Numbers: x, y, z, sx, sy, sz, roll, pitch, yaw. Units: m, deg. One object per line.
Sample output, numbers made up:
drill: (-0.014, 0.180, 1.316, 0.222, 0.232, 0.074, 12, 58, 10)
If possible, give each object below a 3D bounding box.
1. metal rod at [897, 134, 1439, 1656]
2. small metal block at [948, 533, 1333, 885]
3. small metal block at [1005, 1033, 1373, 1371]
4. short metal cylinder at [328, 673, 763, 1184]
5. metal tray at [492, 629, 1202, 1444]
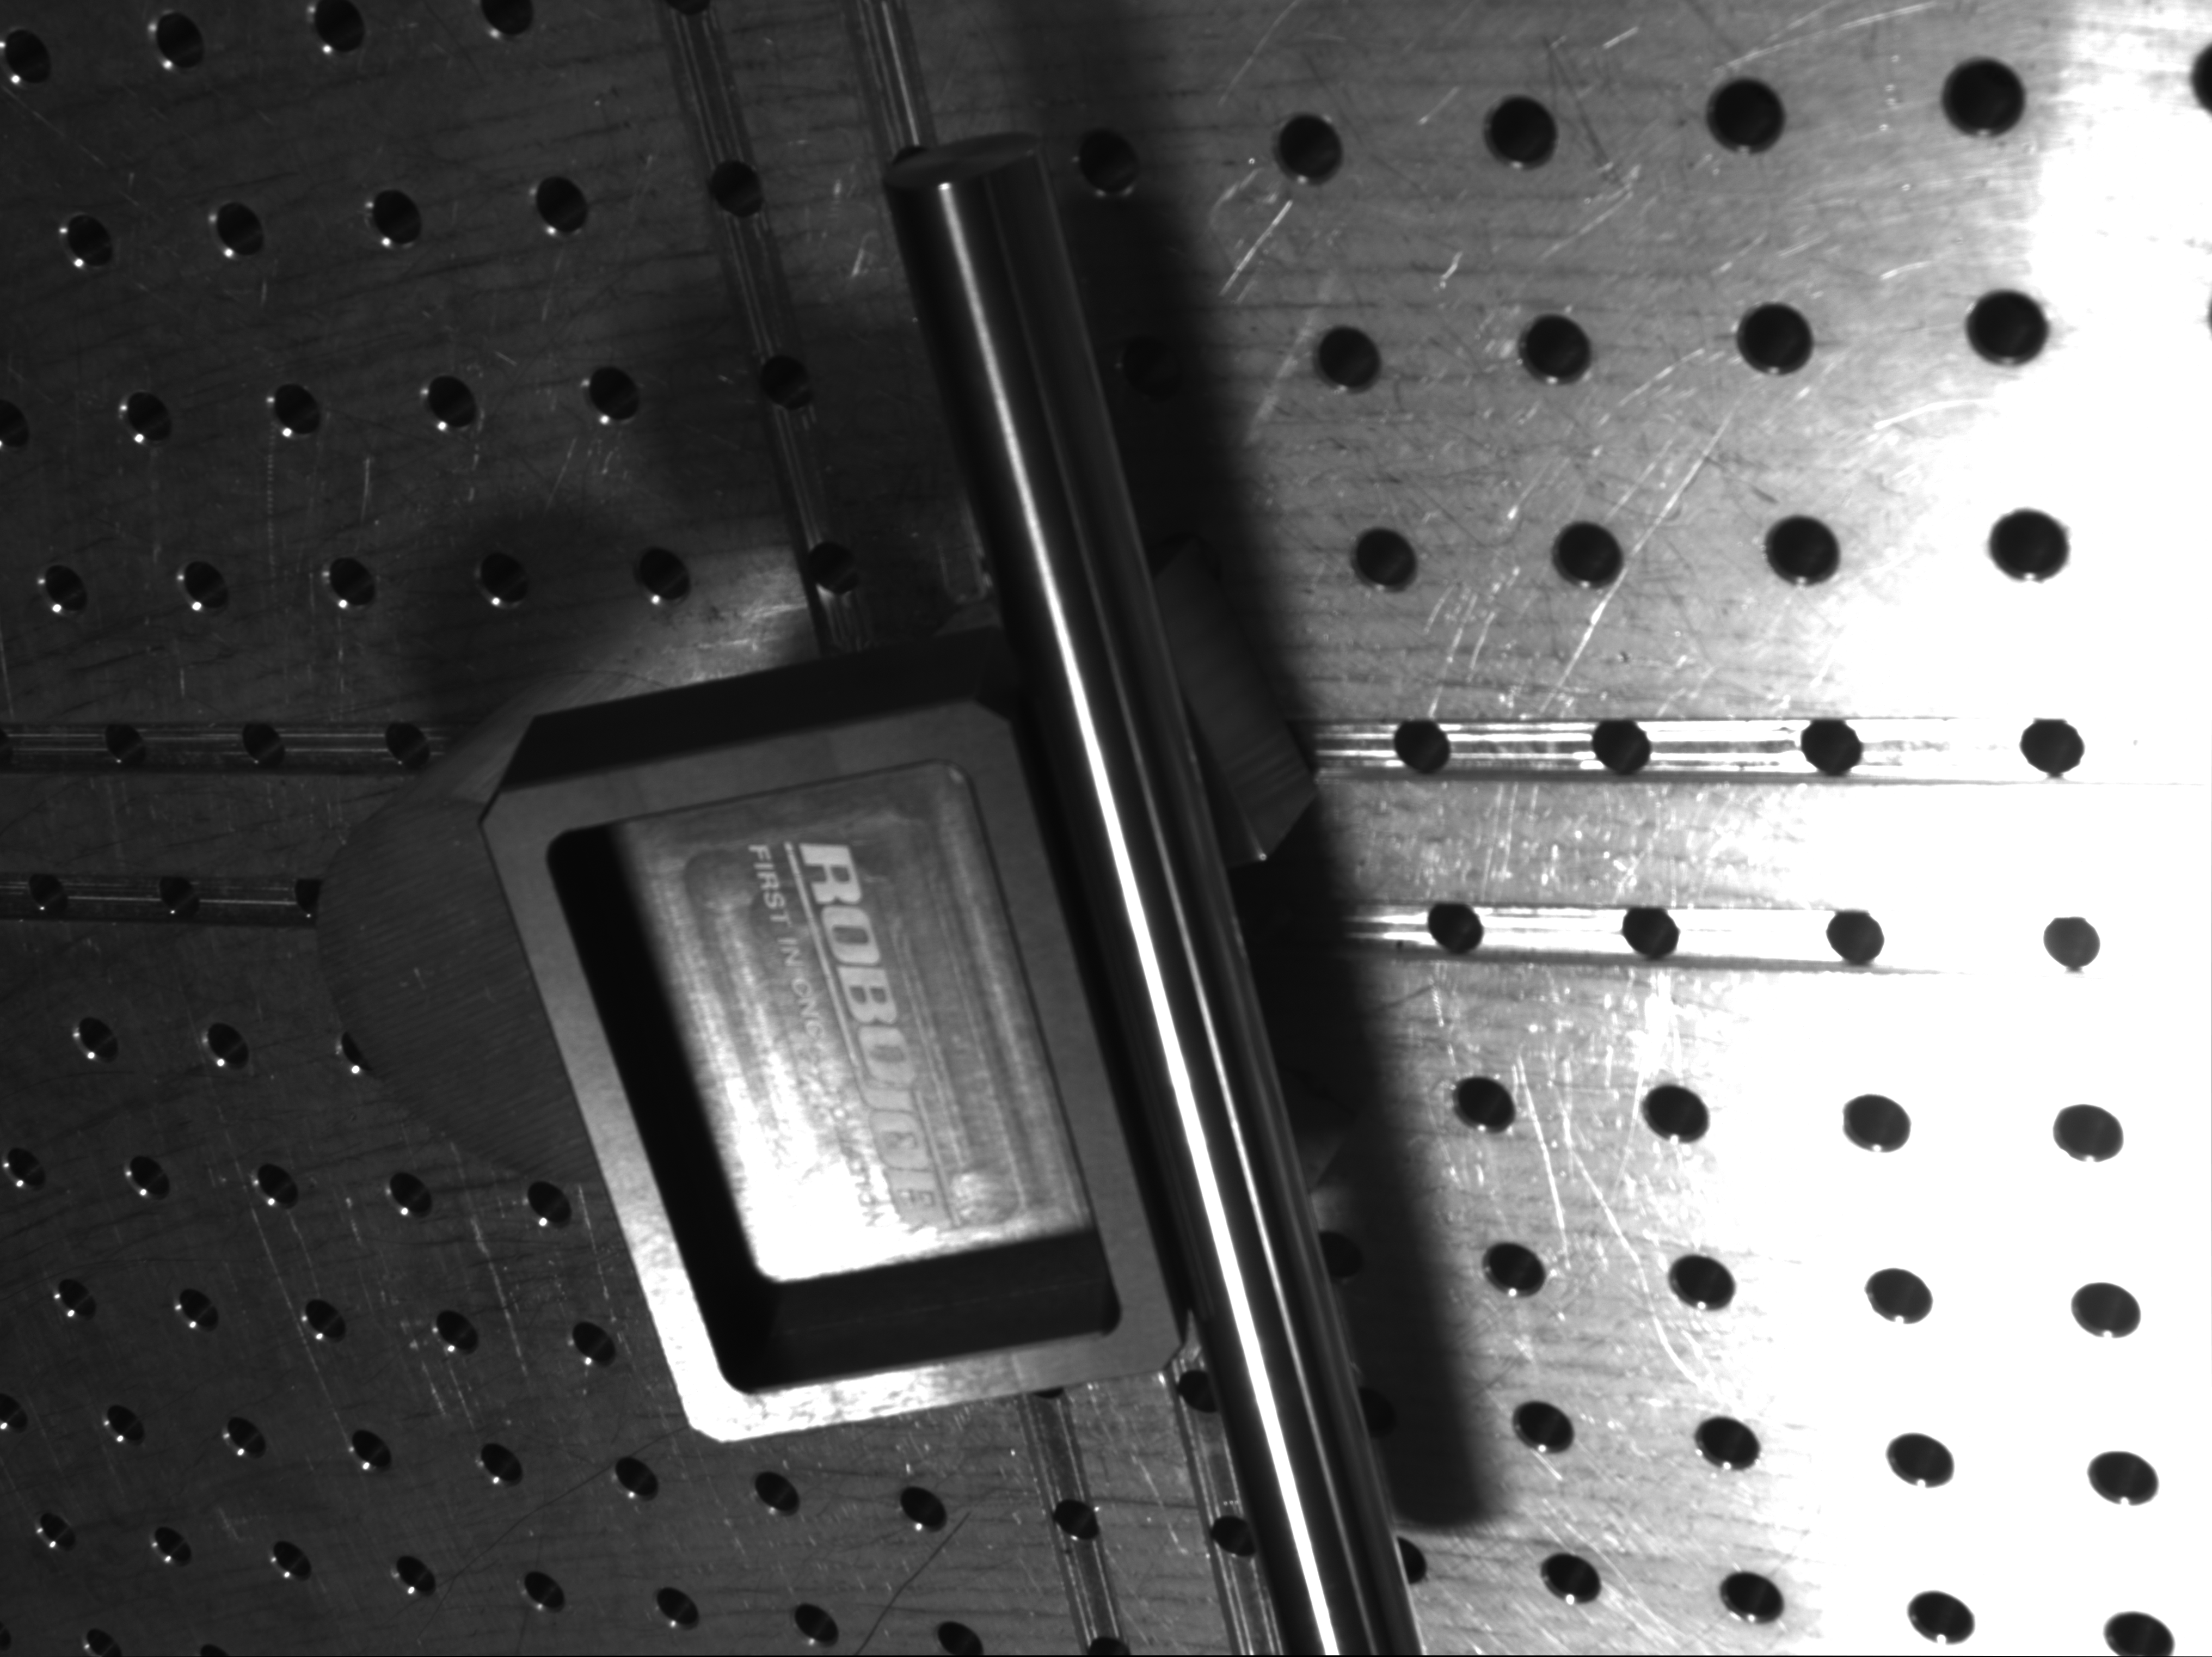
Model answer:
metal rod: (0.016, 0.032, 0.613, 0.025, 0.025, 0.300, -1, 118, 27)
small metal block: (0.003, -0.016, 0.623, 0.050, 0.025, 0.050, -16, 110, 33)
small metal block: (0.012, 0.062, 0.664, 0.050, 0.025, 0.050, 34, 128, 5)
short metal cylinder: (-0.095, 0.018, 0.676, 0.080, 0.050, 0.080, 12, 123, 20)
metal tray: (-0.041, 0.038, 0.623, 0.090, 0.030, 0.130, -11, 115, 10)
